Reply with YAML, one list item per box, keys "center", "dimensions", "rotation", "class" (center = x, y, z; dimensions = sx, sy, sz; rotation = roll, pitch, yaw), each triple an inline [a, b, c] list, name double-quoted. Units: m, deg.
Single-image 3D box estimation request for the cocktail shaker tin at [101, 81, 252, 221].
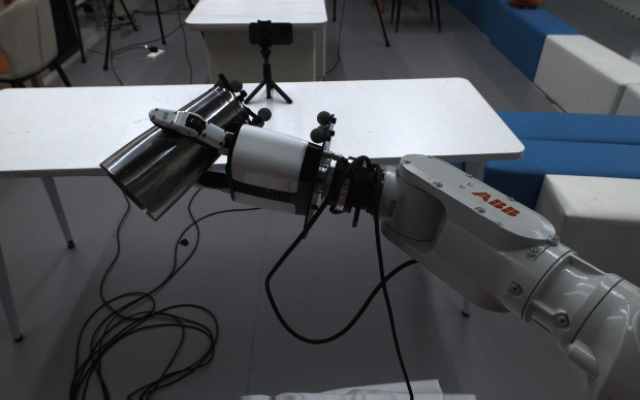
- center: [-0.169, -0.068, 0.596]
  dimensions: [0.093, 0.093, 0.170]
  rotation: [32, 66, 36]
  class: "cocktail shaker tin"
